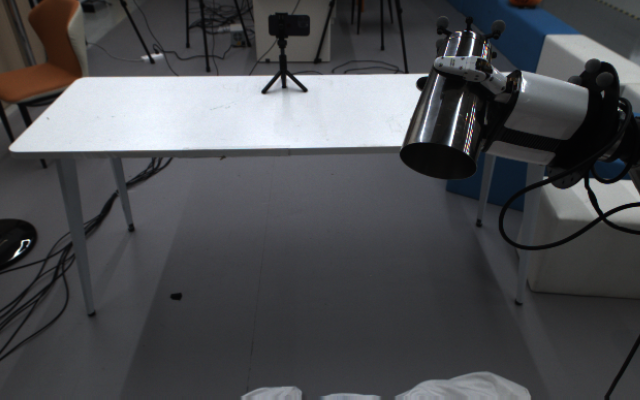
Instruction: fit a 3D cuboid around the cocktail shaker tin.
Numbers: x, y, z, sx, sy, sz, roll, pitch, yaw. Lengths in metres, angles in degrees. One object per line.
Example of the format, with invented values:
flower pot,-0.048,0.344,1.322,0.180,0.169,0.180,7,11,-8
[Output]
cocktail shaker tin,0.165,-0.122,0.600,0.093,0.093,0.170,13,70,15
